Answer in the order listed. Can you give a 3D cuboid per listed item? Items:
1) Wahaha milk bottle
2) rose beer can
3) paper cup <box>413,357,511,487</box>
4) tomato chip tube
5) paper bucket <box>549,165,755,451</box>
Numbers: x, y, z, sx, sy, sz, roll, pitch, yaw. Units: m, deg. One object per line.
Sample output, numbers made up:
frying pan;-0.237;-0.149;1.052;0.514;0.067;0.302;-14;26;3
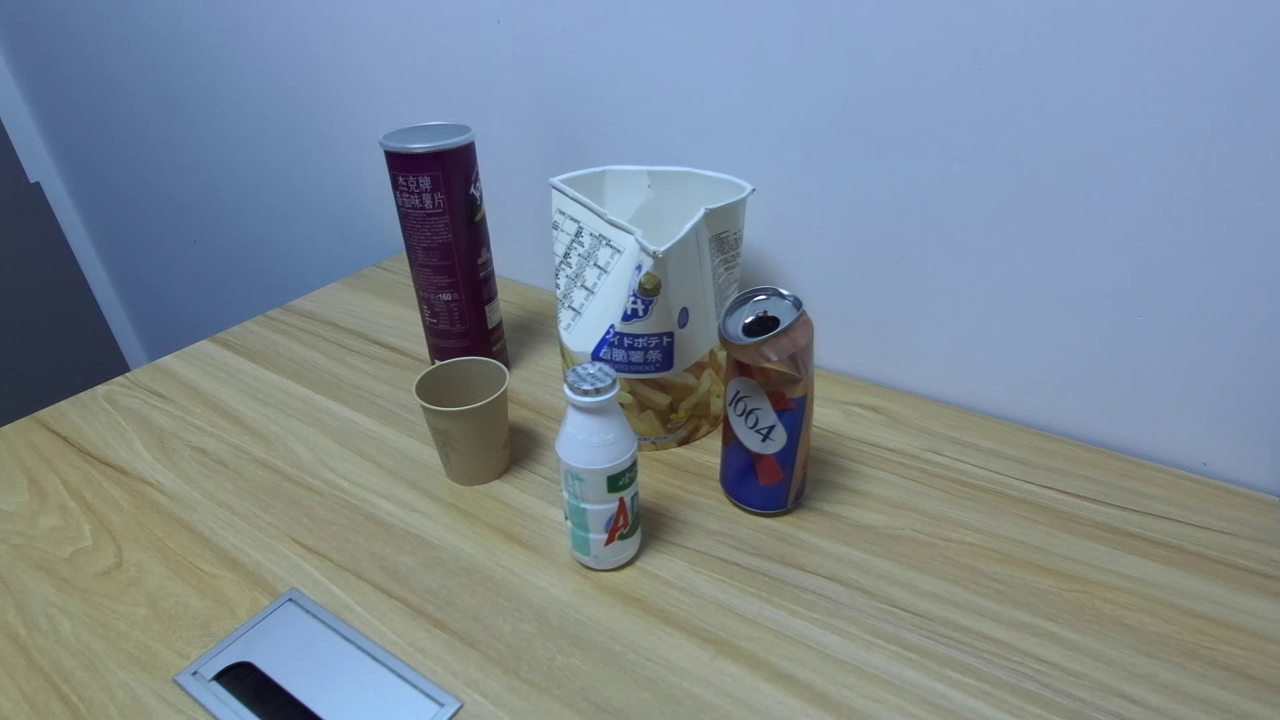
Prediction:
Wahaha milk bottle;-0.027;0.071;0.466;0.053;0.147;0.053;-2;31;1
rose beer can;0.090;0.033;0.503;0.069;0.168;0.070;6;37;18
paper cup;-0.136;0.052;0.567;0.075;0.082;0.075;-1;32;1
tomato chip tube;-0.175;-0.090;0.654;0.078;0.234;0.078;-1;31;1
paper bucket;-0.005;-0.046;0.606;0.162;0.202;0.169;15;33;29
